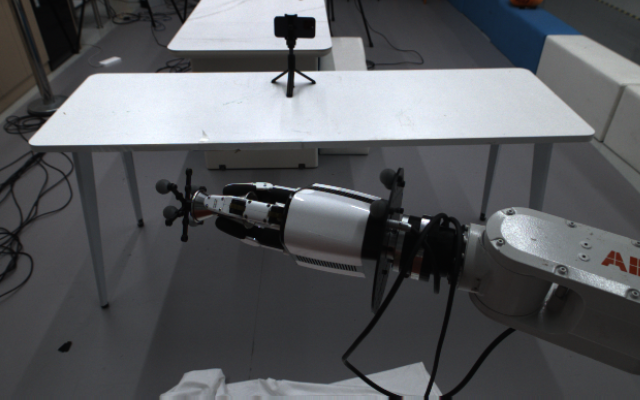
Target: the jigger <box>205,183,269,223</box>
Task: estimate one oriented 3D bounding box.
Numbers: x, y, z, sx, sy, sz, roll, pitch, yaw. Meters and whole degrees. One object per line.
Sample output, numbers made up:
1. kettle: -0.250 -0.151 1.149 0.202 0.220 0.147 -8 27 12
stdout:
1. jigger: -0.107 0.004 0.575 0.071 0.043 0.043 2 34 15
